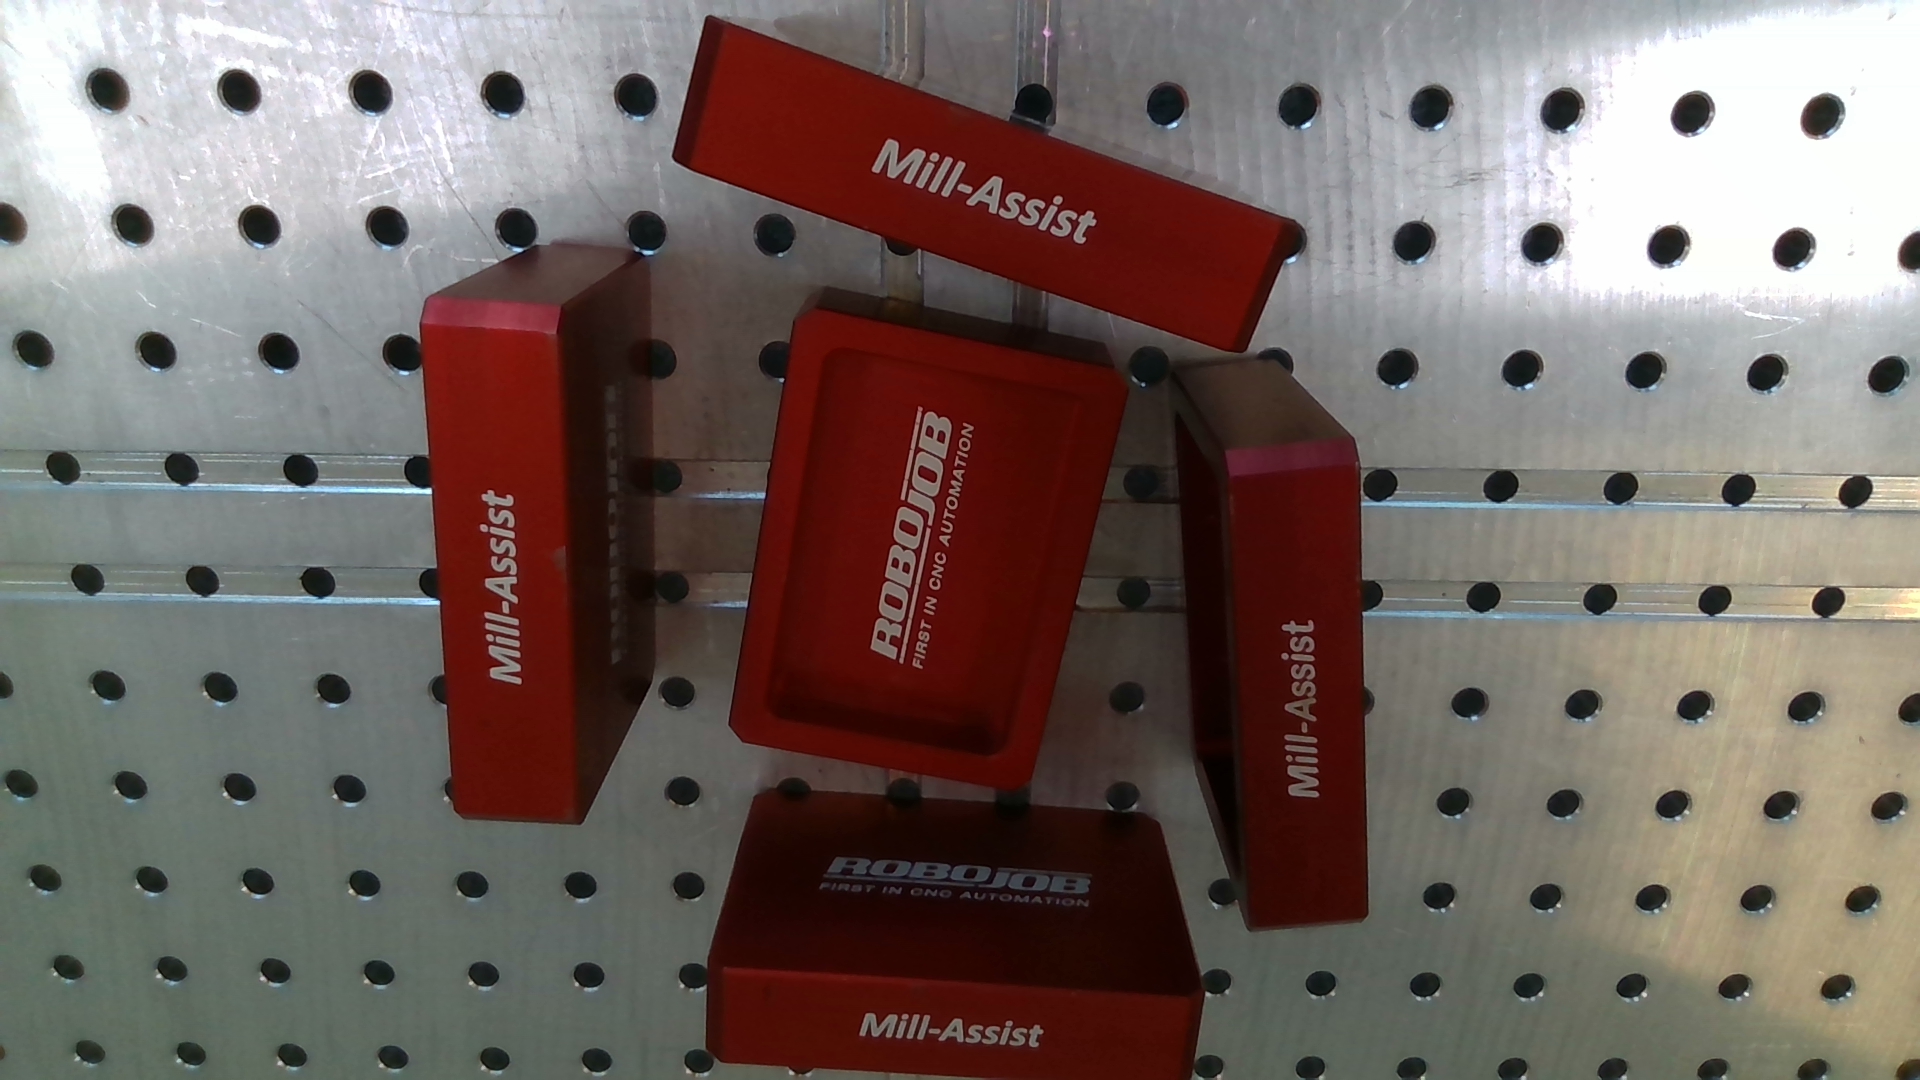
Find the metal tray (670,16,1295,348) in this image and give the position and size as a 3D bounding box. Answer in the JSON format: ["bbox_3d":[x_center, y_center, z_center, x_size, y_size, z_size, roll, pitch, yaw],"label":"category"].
[{"bbox_3d":[0.005,-0.088,0.329,0.130,0.090,0.030,17,109,-6],"label":"metal tray"}]

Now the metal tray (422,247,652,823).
[{"bbox_3d":[-0.105,-0.005,0.359,0.030,0.090,0.130,3,110,-1],"label":"metal tray"}]

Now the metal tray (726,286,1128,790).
[{"bbox_3d":[-0.012,0.002,0.393,0.090,0.030,0.130,11,110,-4],"label":"metal tray"}]

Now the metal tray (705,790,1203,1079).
[{"bbox_3d":[-0.002,0.113,0.402,0.130,0.090,0.030,4,110,-2],"label":"metal tray"}]

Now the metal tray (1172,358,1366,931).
[{"bbox_3d":[0.081,0.025,0.370,0.030,0.090,0.130,-6,110,2],"label":"metal tray"}]
